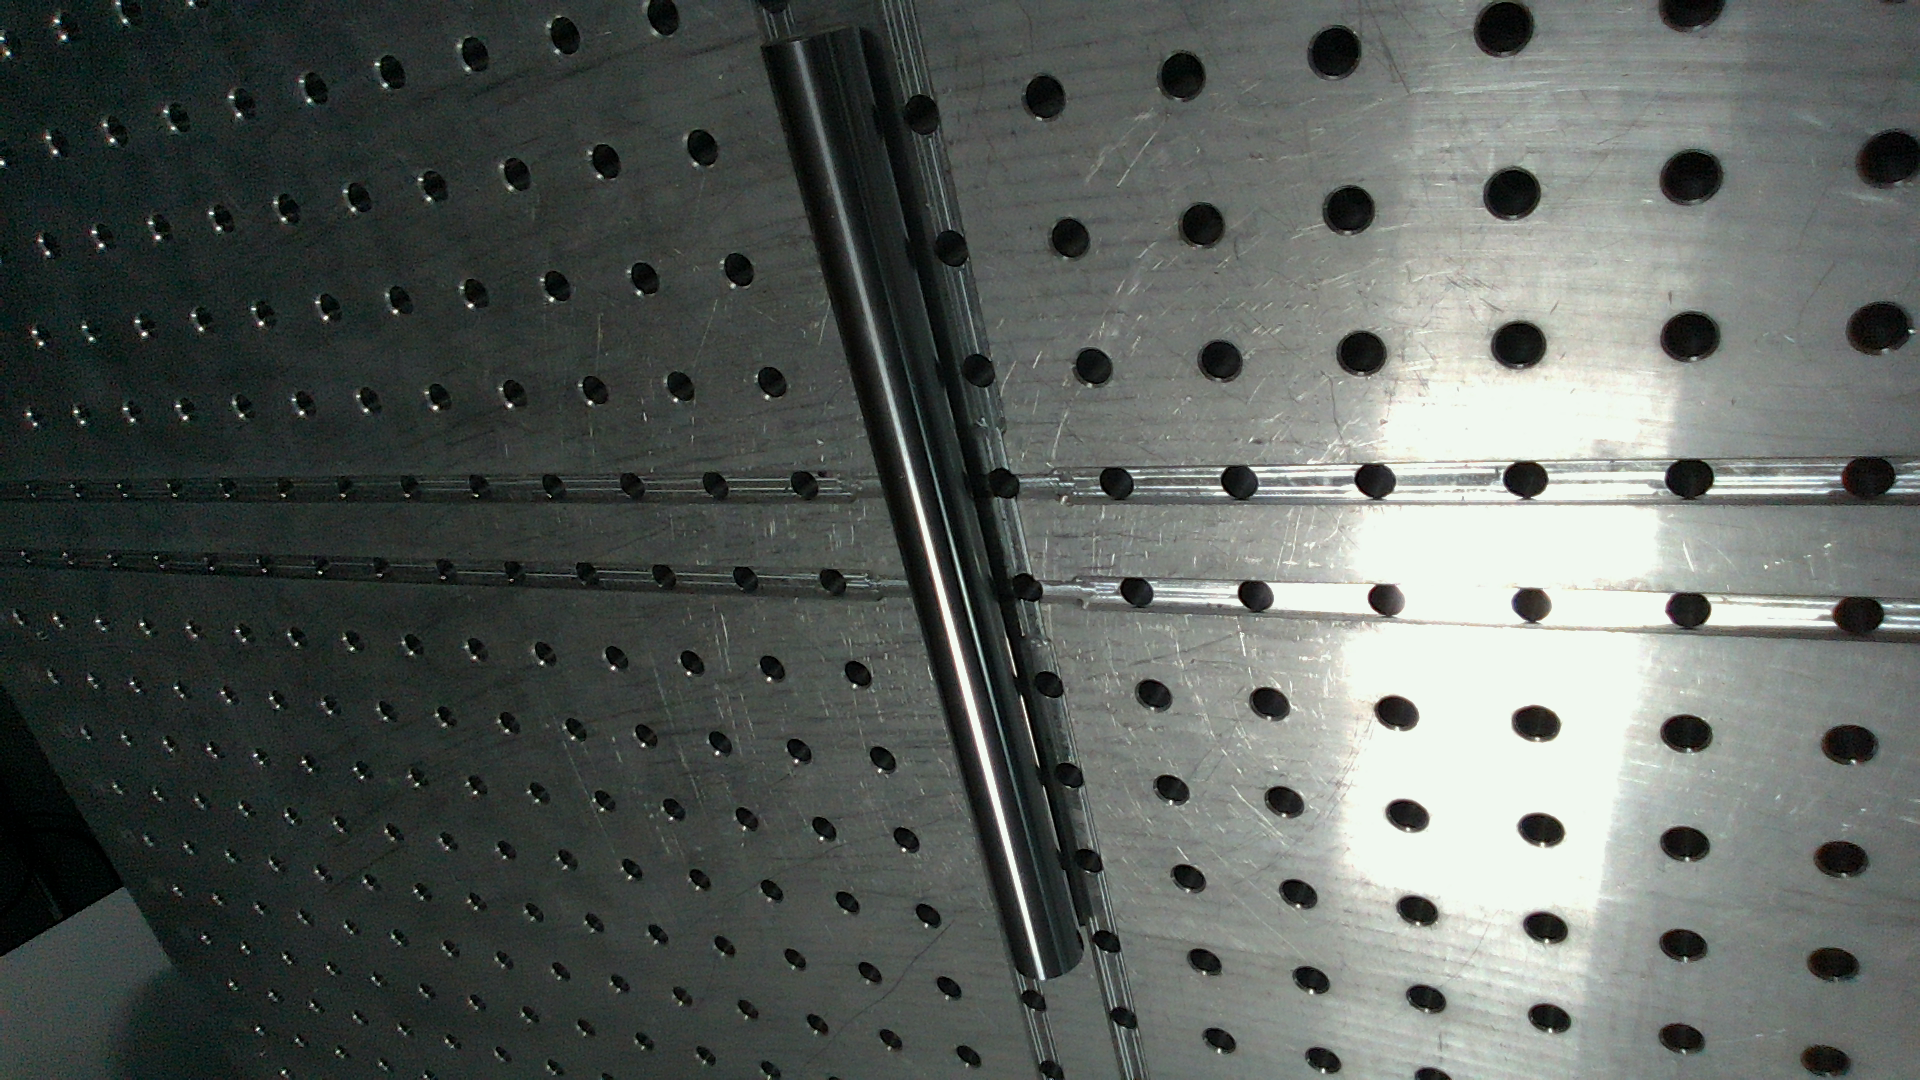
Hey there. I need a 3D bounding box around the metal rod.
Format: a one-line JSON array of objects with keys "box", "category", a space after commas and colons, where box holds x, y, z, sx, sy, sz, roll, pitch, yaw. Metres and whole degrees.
[{"box": [-0.004, 0.007, 0.402, 0.025, 0.025, 0.300, 0, 119, 28], "category": "metal rod"}]
